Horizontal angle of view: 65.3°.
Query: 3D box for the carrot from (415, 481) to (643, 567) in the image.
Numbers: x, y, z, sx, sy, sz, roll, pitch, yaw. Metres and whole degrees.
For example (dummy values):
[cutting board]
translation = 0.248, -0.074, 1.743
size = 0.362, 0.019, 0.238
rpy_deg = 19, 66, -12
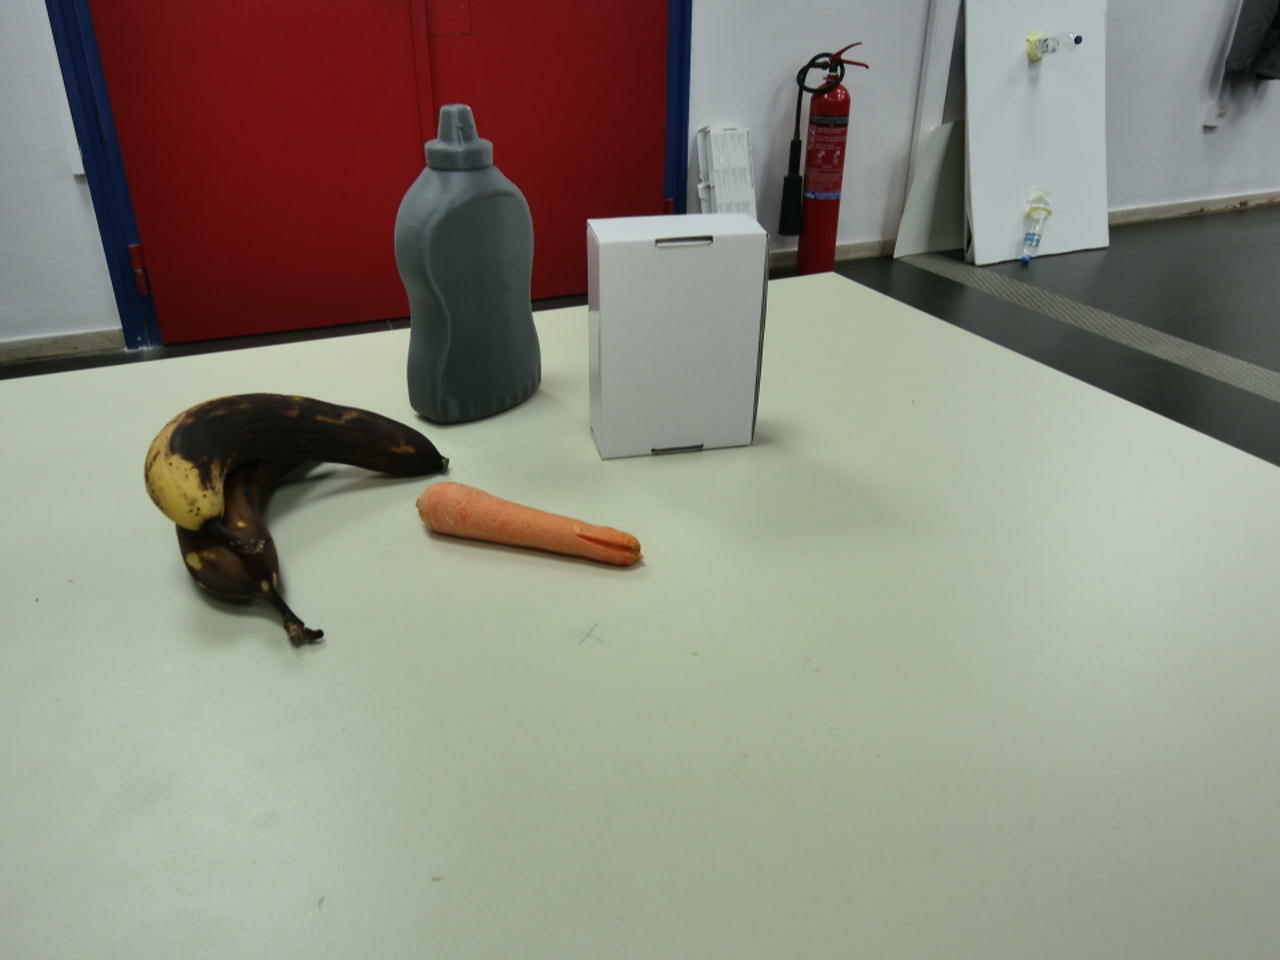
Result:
[carrot]
translation = -0.063, 0.023, 0.552
size = 0.136, 0.032, 0.030
rpy_deg = 9, 27, 18
